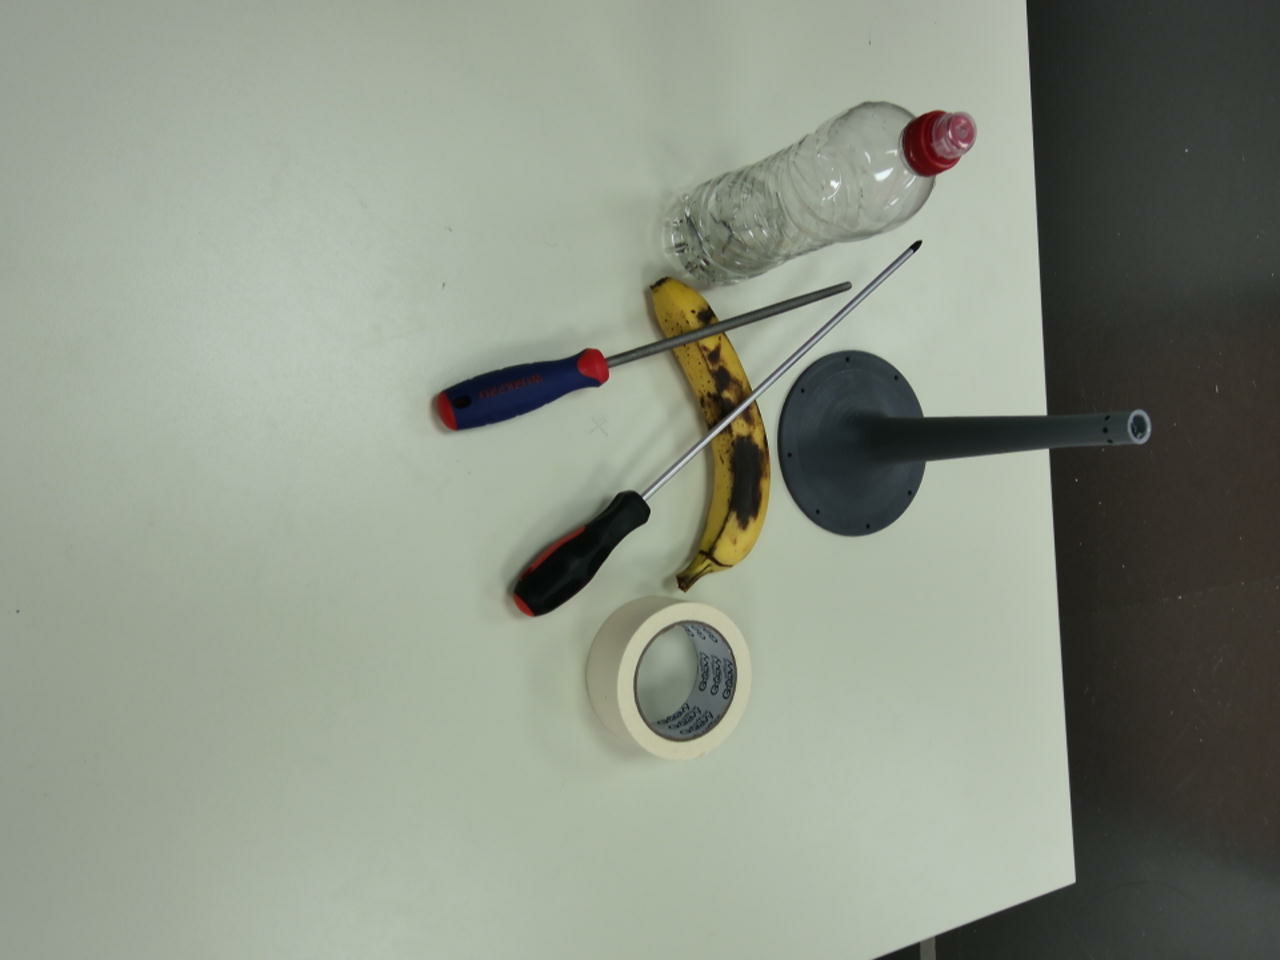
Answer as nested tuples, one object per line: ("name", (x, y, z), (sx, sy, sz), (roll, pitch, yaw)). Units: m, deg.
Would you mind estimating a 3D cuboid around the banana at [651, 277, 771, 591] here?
("banana", (0.055, -0.035, 0.721), (0.084, 0.038, 0.222), (-5, 92, -28))
